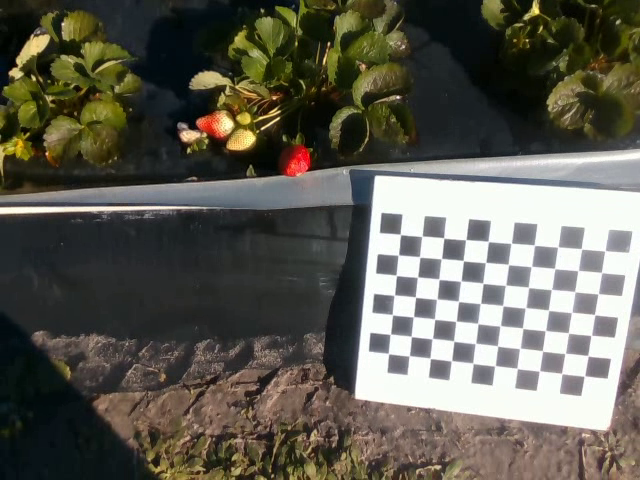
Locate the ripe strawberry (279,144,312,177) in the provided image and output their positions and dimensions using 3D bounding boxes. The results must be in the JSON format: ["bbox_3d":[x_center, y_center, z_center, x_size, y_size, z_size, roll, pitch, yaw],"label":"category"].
[{"bbox_3d":[-0.028,-0.077,0.711,0.036,0.038,0.046,3,21,12],"label":"ripe strawberry"}]
